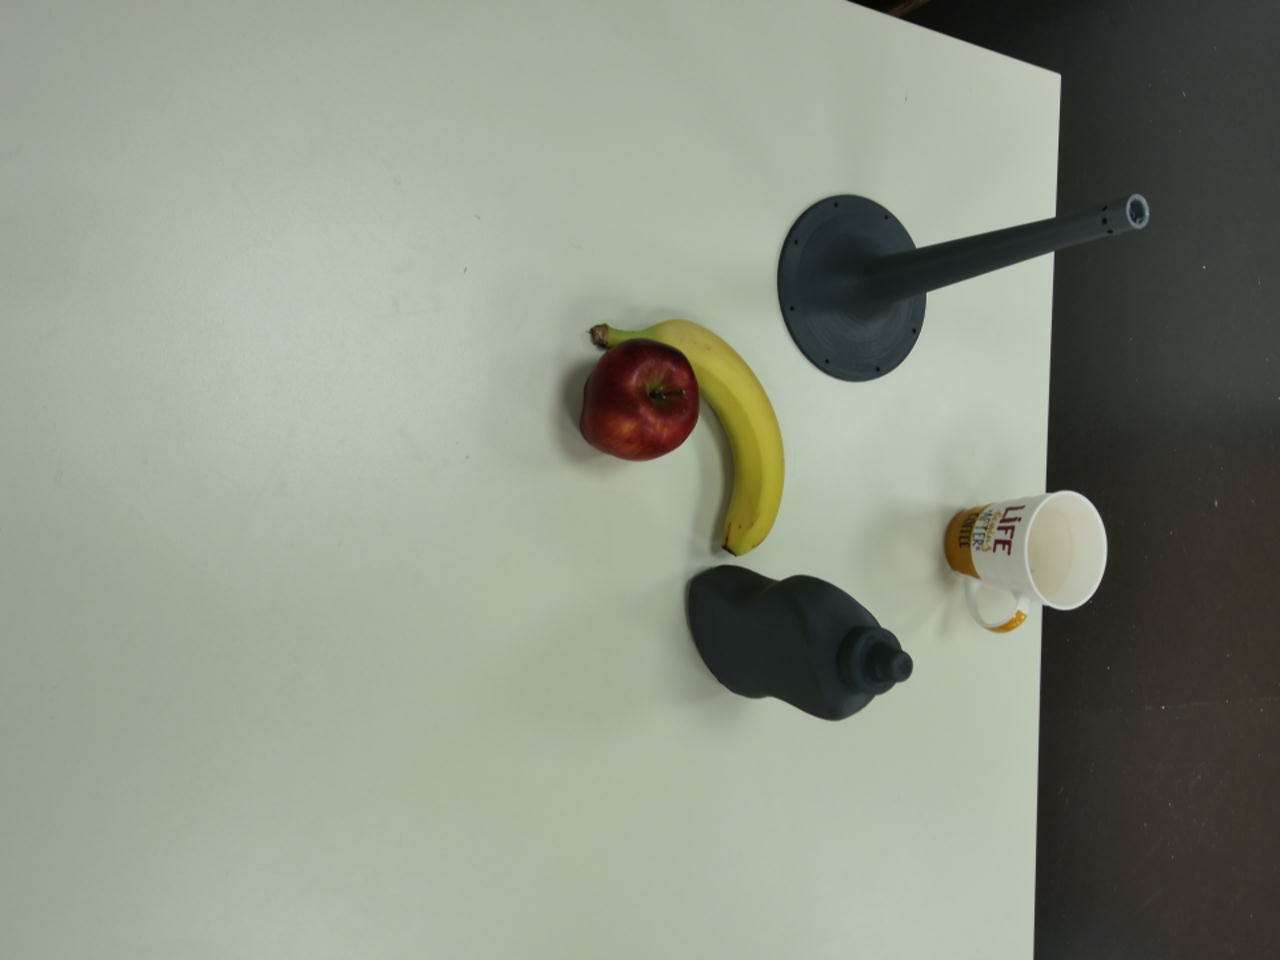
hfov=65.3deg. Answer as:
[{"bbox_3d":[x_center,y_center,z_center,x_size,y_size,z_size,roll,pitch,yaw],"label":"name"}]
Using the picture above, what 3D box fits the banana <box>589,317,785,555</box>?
[{"bbox_3d":[0.053,-0.047,0.728,0.094,0.041,0.196,-36,106,-23],"label":"banana"}]
